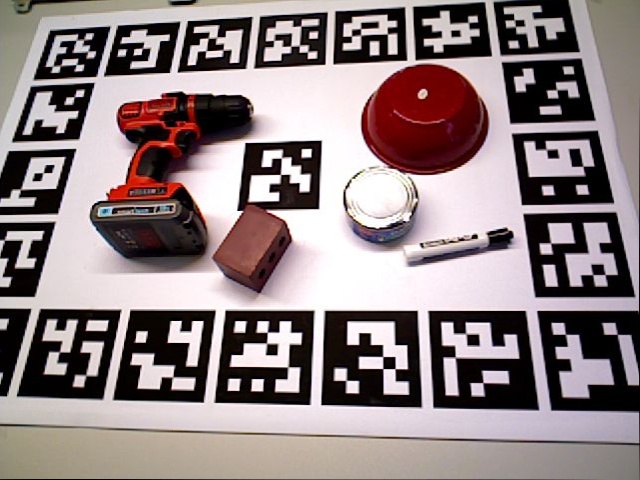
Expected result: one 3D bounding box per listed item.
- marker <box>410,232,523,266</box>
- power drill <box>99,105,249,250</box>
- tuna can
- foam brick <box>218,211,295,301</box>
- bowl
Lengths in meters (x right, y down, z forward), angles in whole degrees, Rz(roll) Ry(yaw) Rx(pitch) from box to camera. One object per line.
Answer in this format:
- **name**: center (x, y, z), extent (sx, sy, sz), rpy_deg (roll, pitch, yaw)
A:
- **marker**: center (0.159, 0.009, 0.589), extent (0.121, 0.020, 0.019), rpy_deg (-10, 65, 2)
- **power drill**: center (-0.182, -0.082, 0.660), extent (0.184, 0.058, 0.184), rpy_deg (-1, 62, 3)
- **tuna can**: center (0.075, -0.038, 0.615), extent (0.085, 0.034, 0.085), rpy_deg (-2, 65, 3)
- **foam brick**: center (-0.070, 0.018, 0.604), extent (0.051, 0.053, 0.077), rpy_deg (22, 70, 14)
- **bowl**: center (0.127, -0.155, 0.663), extent (0.162, 0.056, 0.159), rpy_deg (-5, 57, 7)
